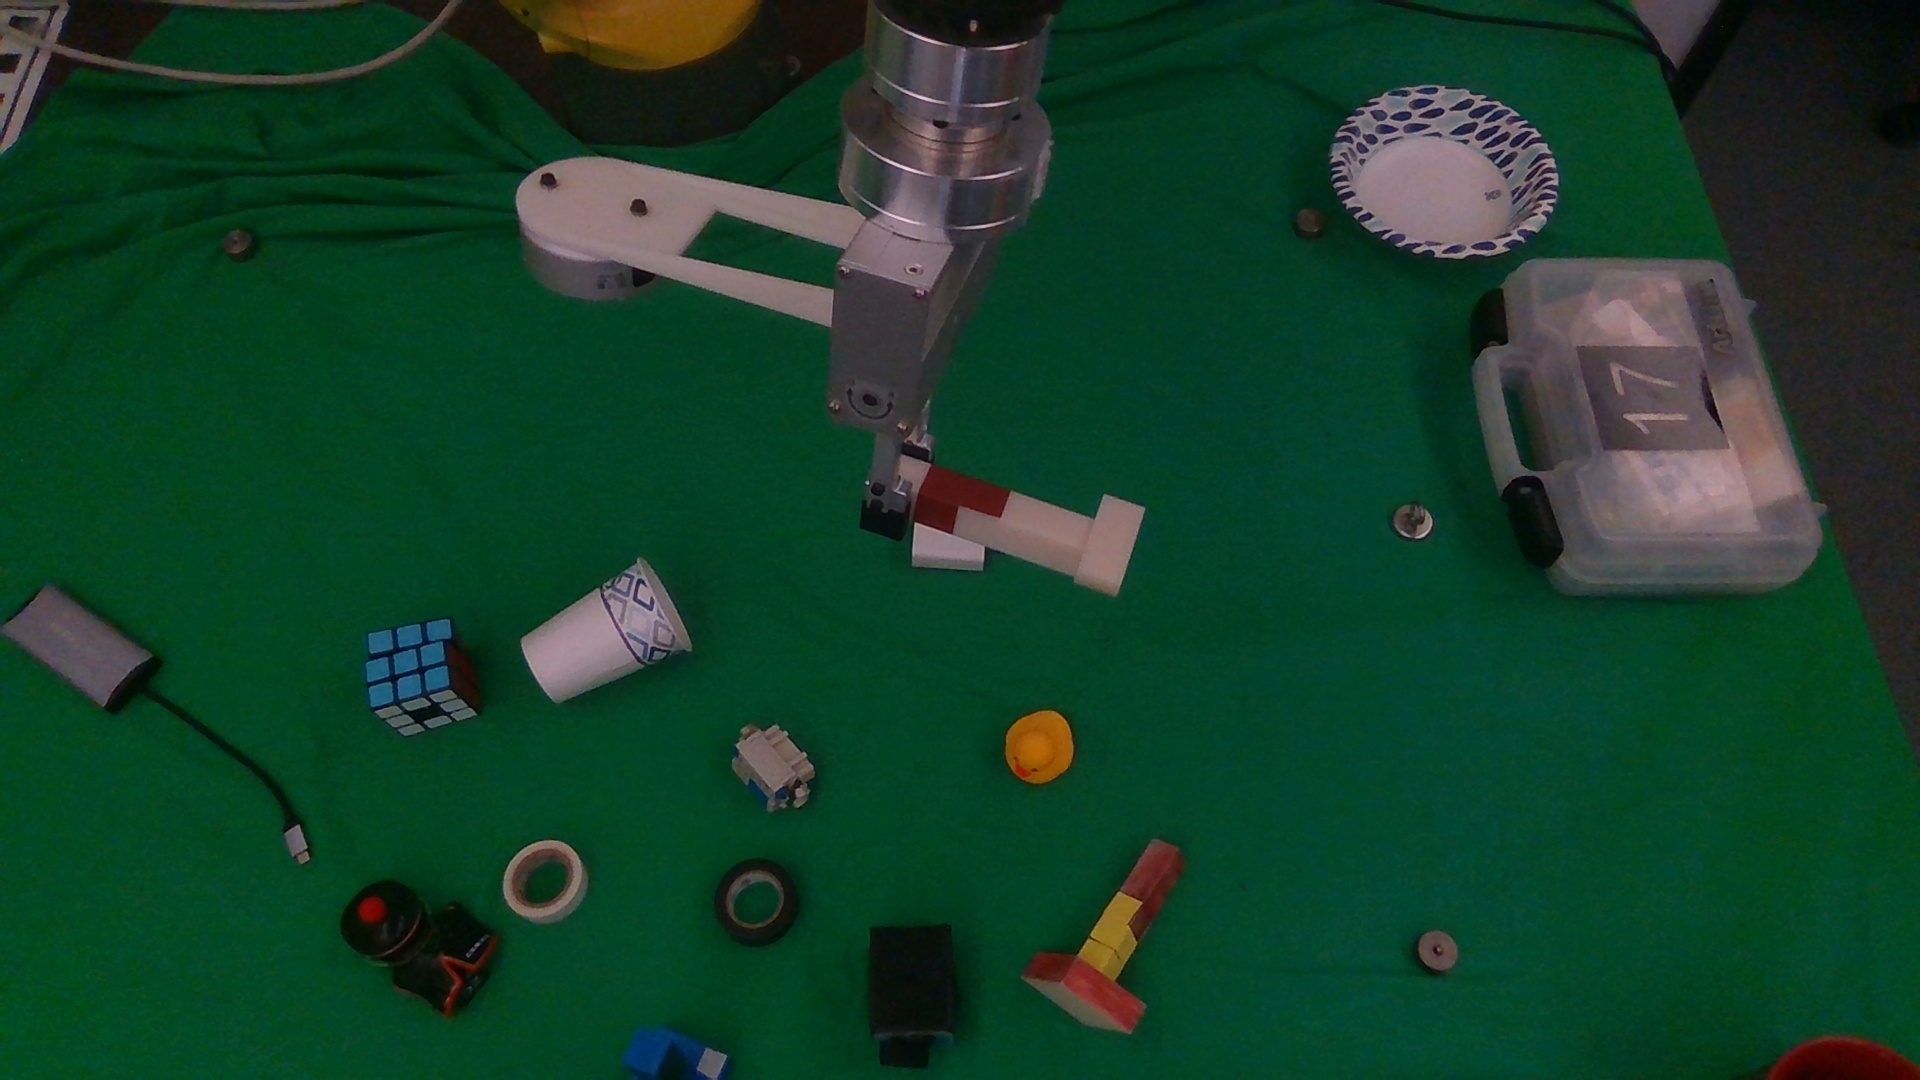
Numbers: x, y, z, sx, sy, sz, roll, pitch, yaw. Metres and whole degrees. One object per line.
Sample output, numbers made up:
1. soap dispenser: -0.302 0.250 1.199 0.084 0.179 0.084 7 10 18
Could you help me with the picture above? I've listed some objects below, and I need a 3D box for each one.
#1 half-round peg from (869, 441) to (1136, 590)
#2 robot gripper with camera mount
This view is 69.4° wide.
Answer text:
1. half-round peg: 0.015 -0.015 0.623 0.122 0.031 0.054 21 45 4
2. robot gripper with camera mount: -0.094 -0.097 0.589 0.193 0.159 0.119 20 49 6
